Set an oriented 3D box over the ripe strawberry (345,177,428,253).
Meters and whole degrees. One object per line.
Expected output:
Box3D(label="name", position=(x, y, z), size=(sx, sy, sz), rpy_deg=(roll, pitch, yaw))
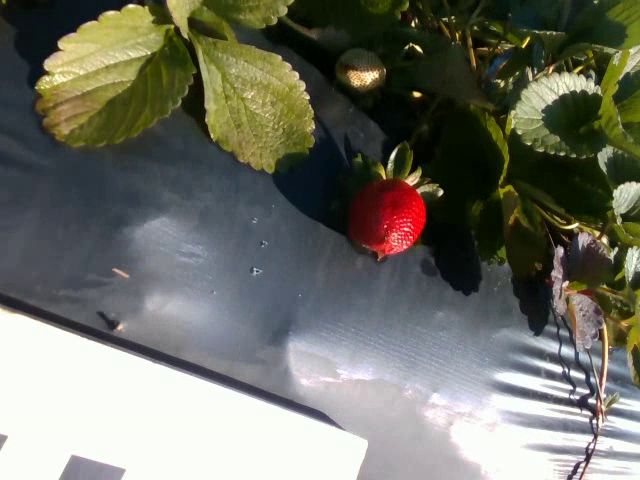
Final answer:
Box3D(label="ripe strawberry", position=(0.031, -0.006, 0.254), size=(0.043, 0.043, 0.050), rpy_deg=(-22, 14, 21))
